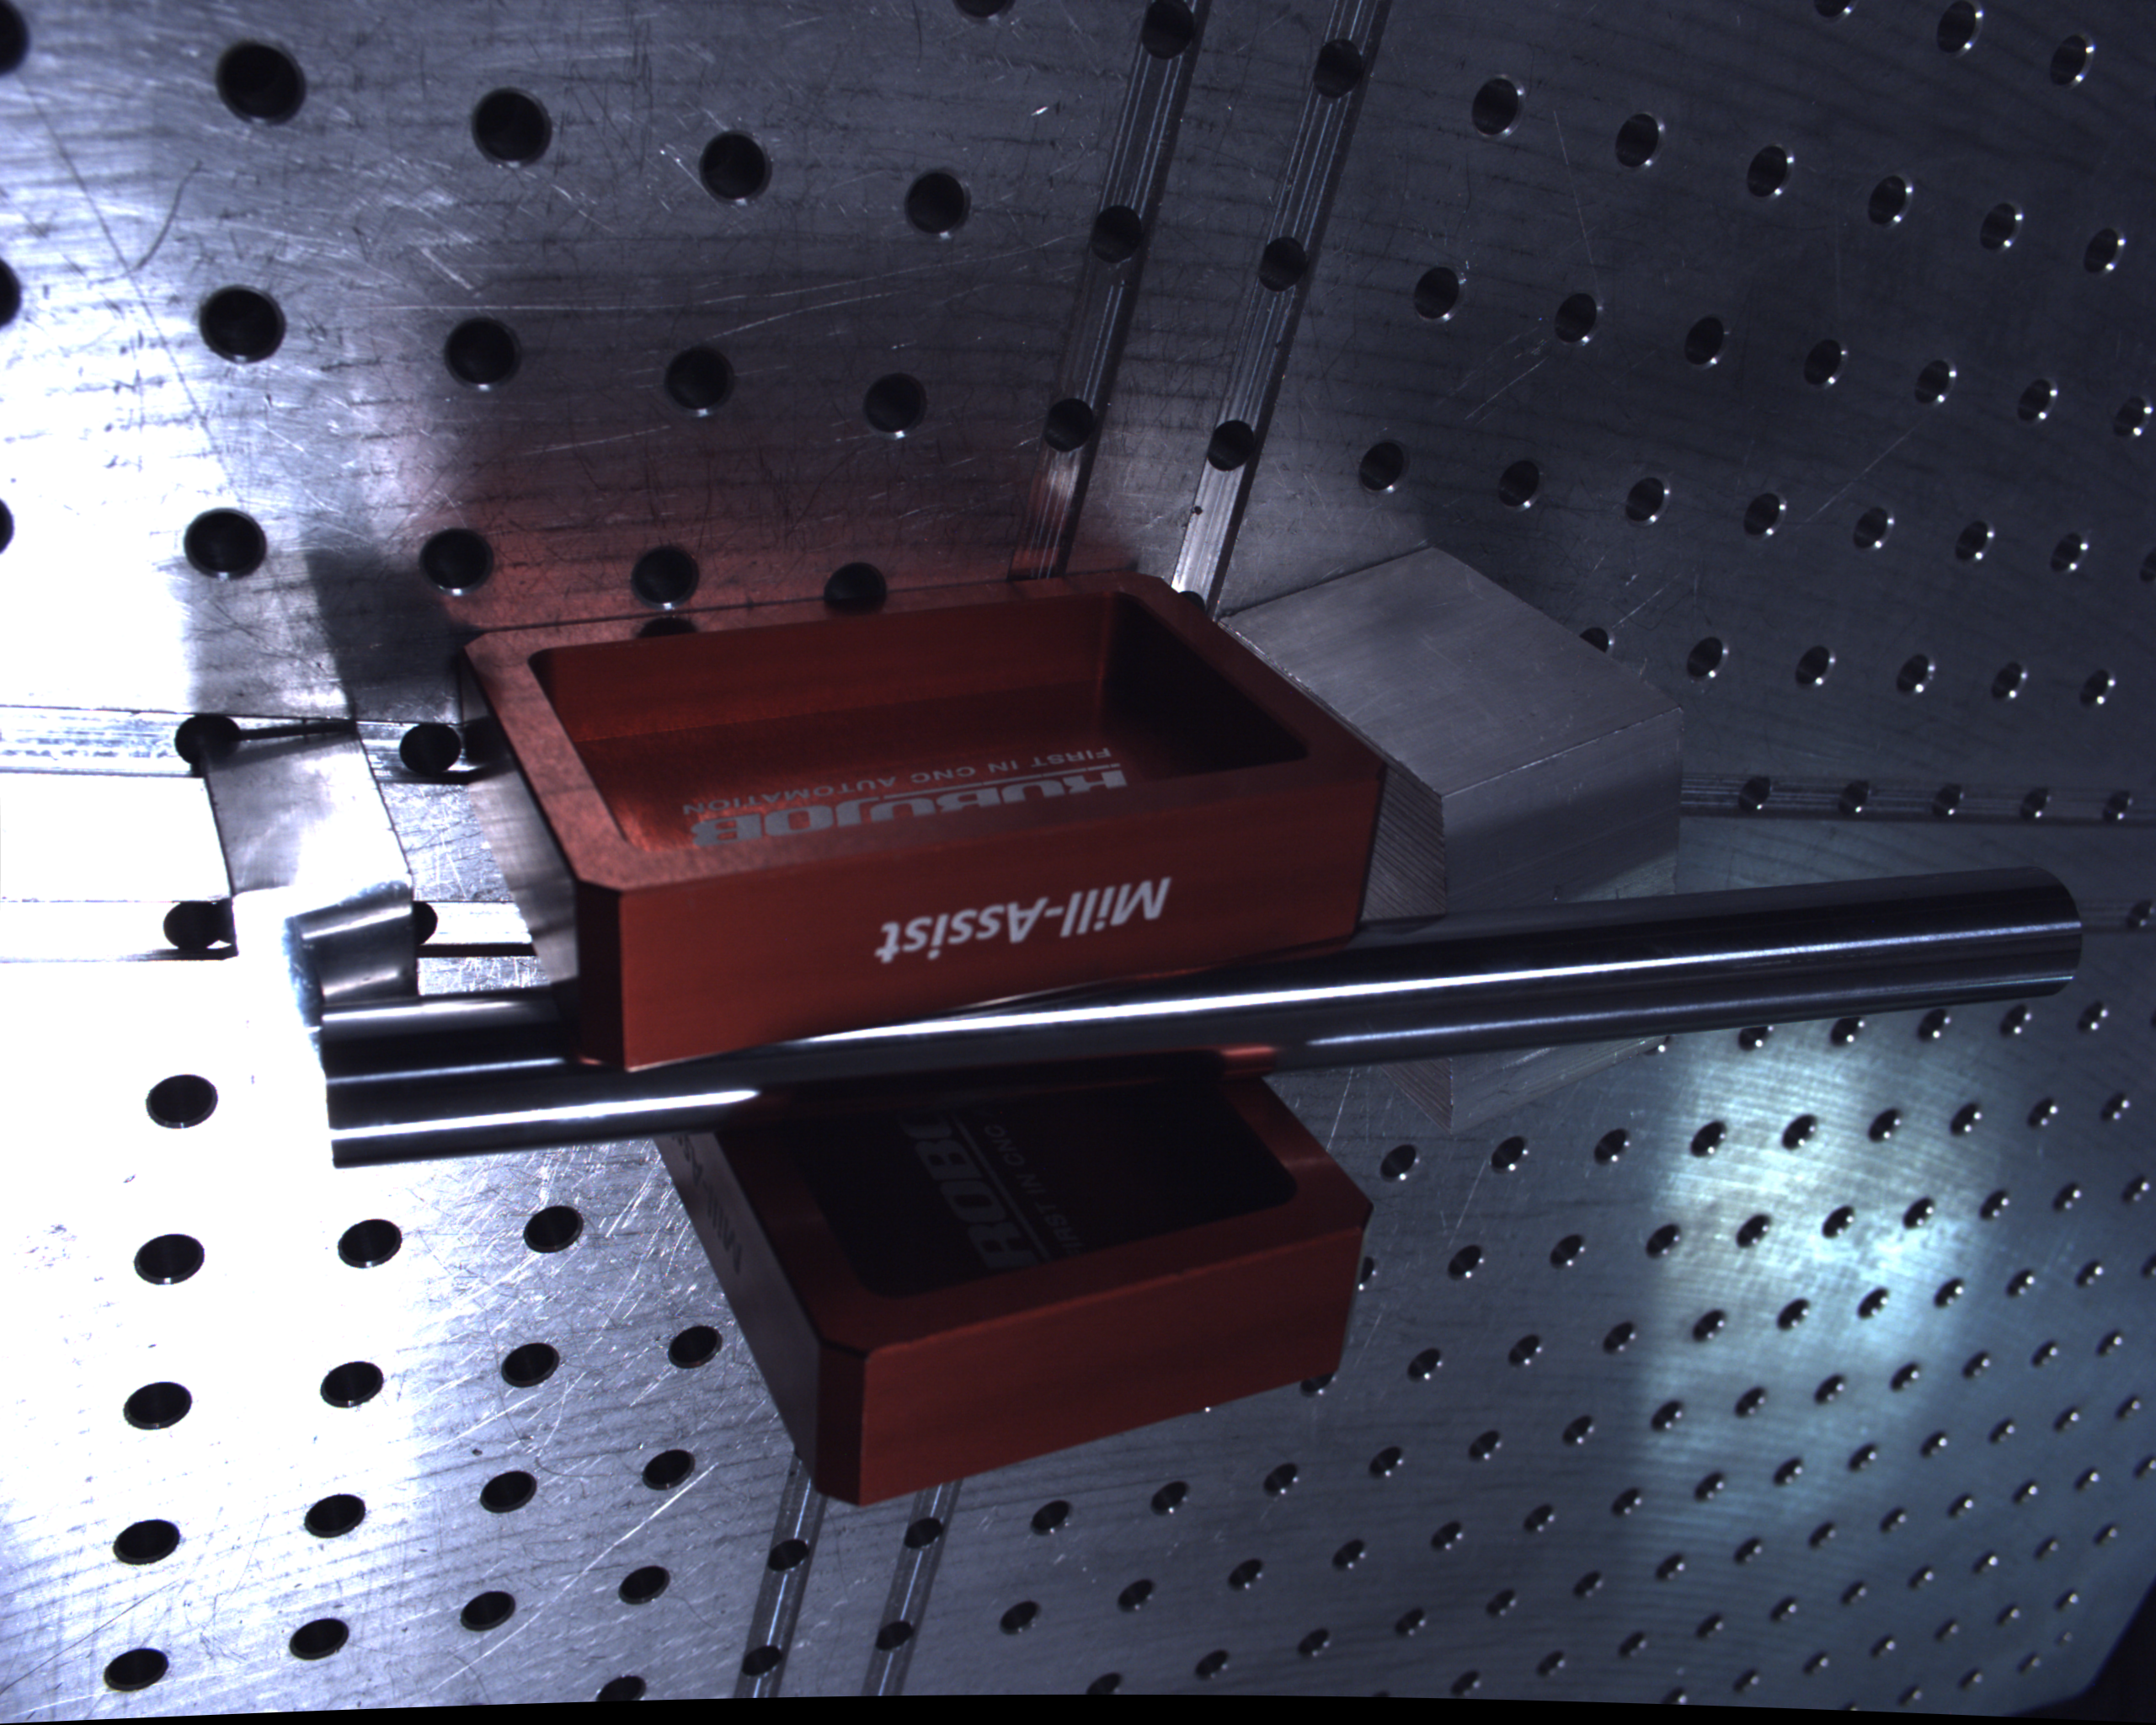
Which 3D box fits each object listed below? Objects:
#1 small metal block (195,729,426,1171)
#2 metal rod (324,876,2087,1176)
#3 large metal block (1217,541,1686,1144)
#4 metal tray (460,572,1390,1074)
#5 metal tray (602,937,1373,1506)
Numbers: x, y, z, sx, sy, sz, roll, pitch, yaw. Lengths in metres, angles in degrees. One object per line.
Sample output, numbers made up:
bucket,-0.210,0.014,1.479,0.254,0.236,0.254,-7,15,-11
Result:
small metal block,-0.124,0.013,0.336,0.025,0.050,0.050,-8,122,-25
metal rod,0.035,0.024,0.349,0.302,0.025,0.025,-4,121,-16
large metal block,0.072,-0.006,0.412,0.050,0.080,0.079,-21,127,-17
metal tray,-0.027,-0.013,0.347,0.131,0.090,0.030,-9,123,-24
metal tray,-0.022,0.043,0.360,0.091,0.130,0.030,-9,123,-24
